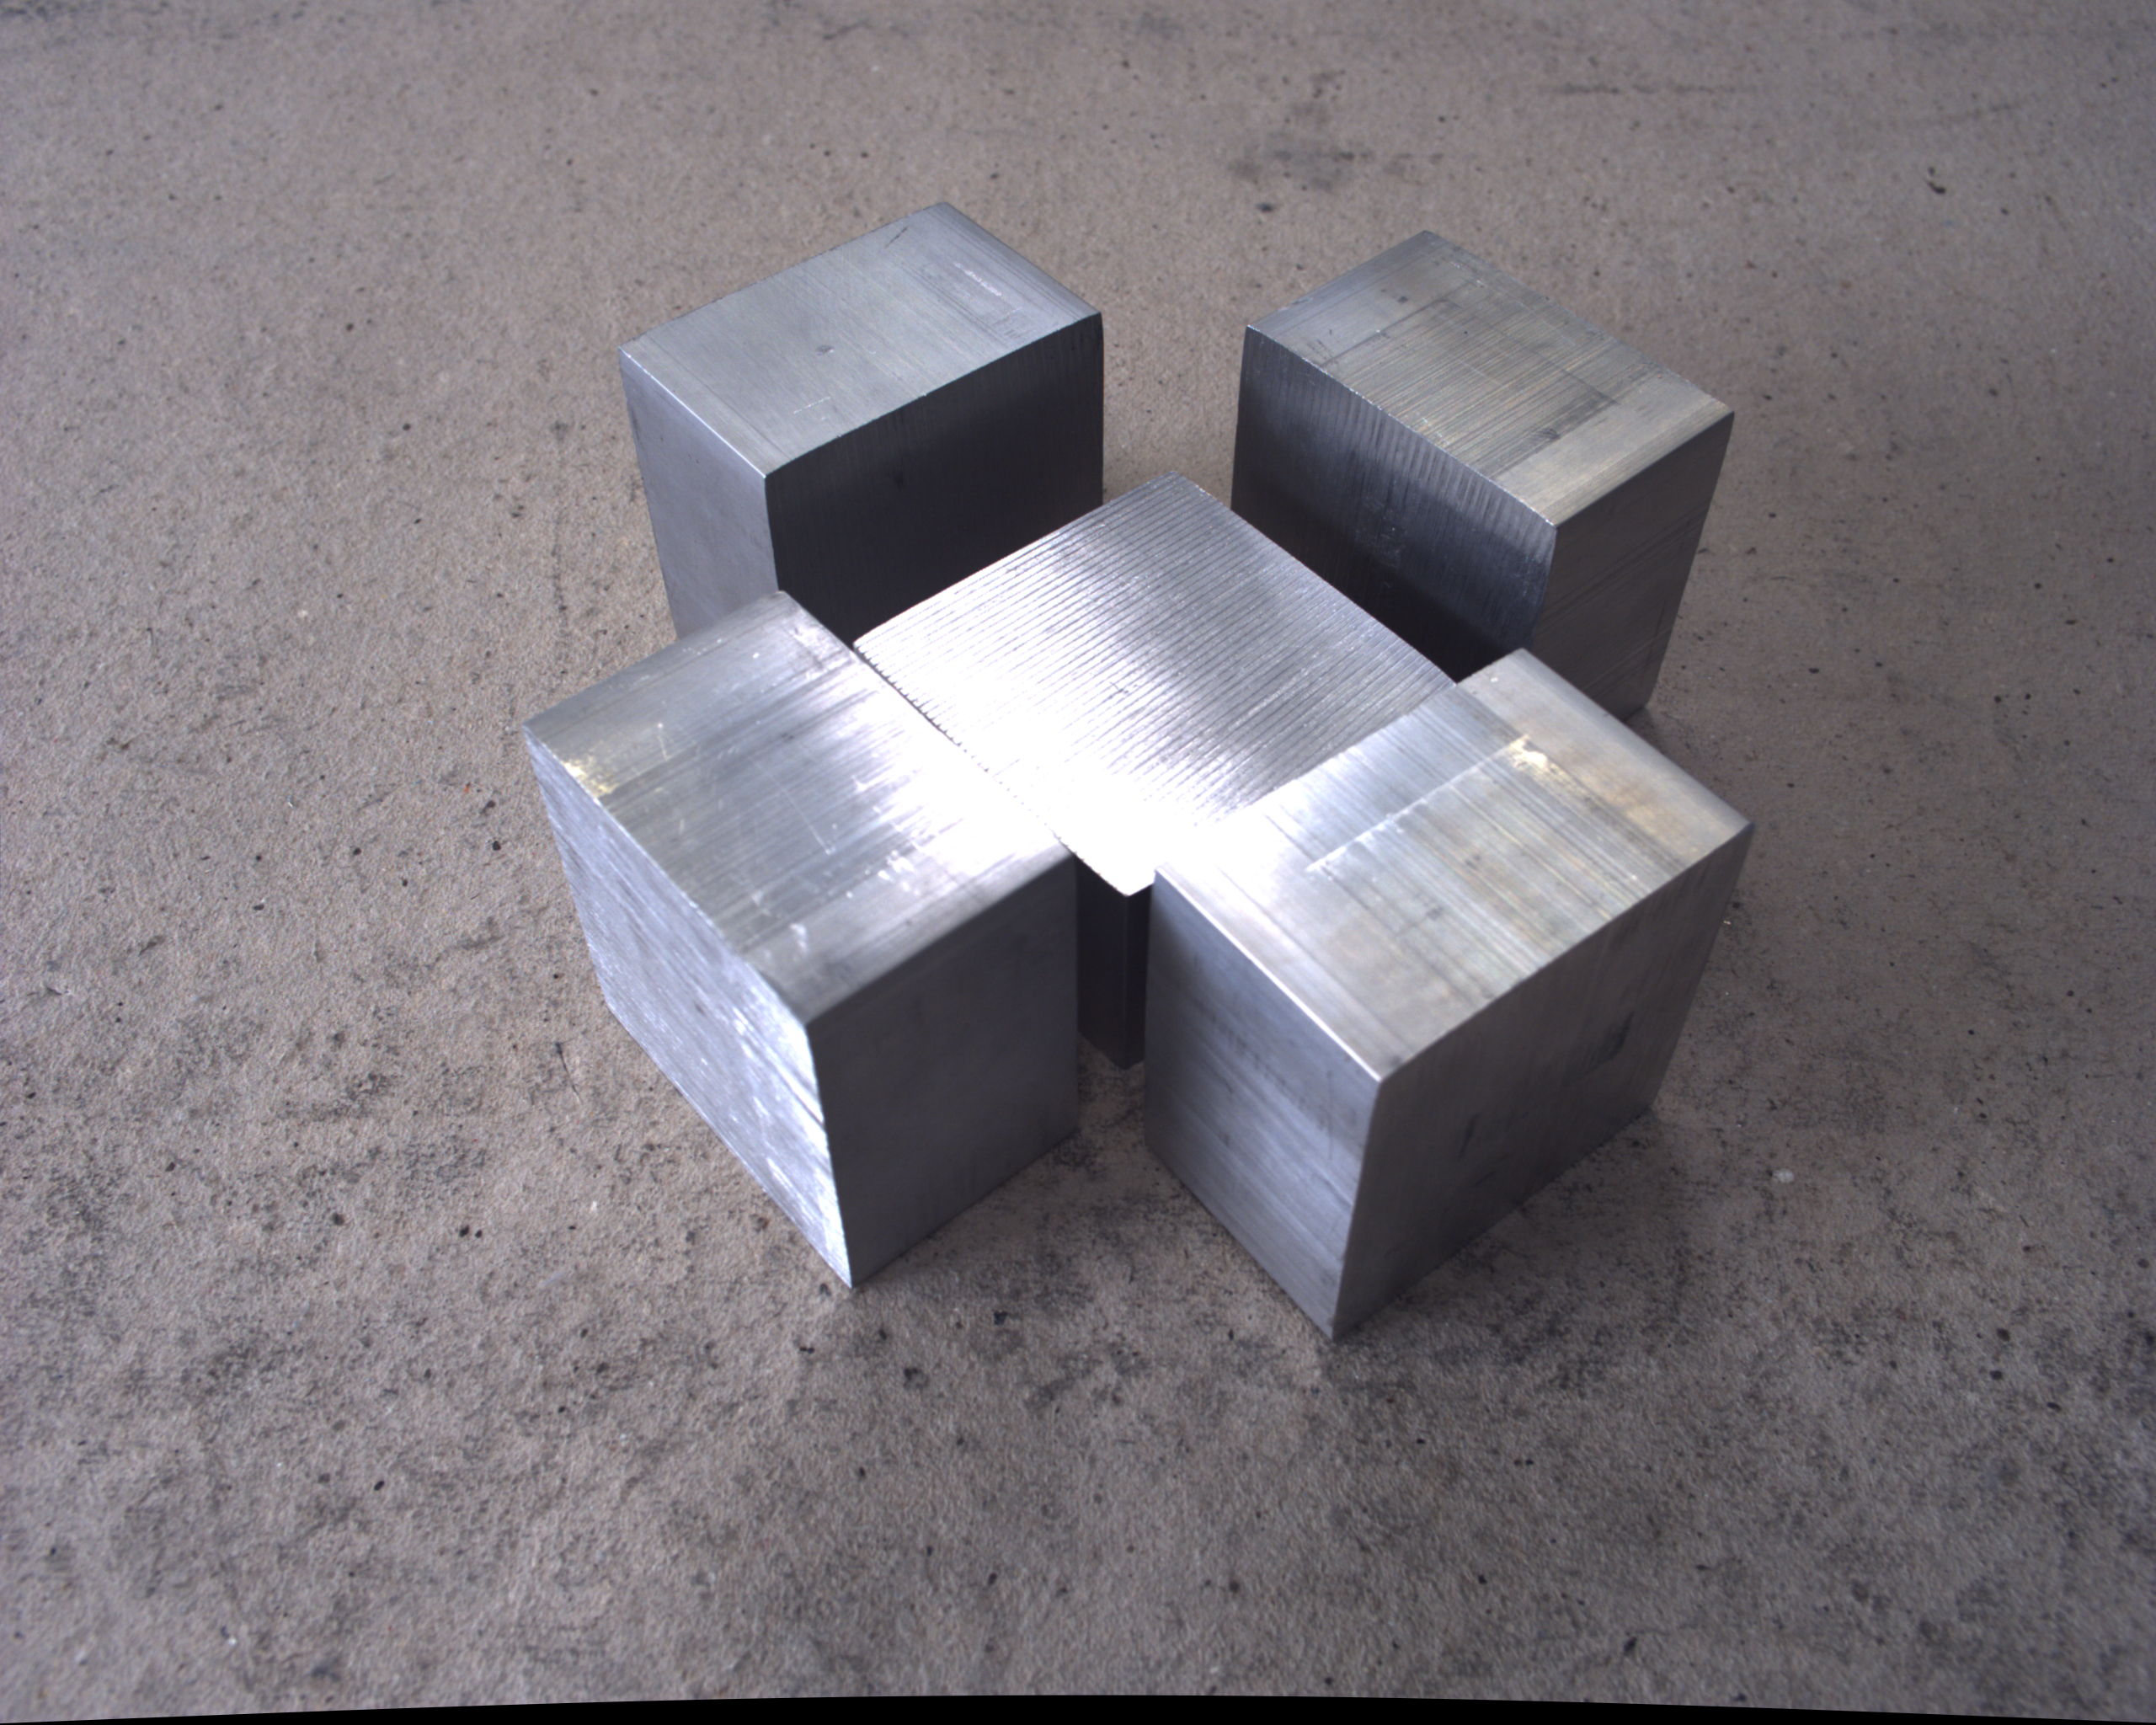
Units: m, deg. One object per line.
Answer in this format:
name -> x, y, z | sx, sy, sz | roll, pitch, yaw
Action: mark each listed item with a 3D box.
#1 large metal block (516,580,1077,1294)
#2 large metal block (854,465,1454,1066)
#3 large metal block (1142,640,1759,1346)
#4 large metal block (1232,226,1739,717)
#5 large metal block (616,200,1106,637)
large metal block -> -0.045, 0.013, 0.357 | 0.050, 0.080, 0.080 | -33, 57, -24
large metal block -> 0.013, -0.021, 0.403 | 0.081, 0.050, 0.080 | -32, 57, -24
large metal block -> 0.058, 0.022, 0.350 | 0.081, 0.080, 0.050 | -31, 56, -23
large metal block -> 0.078, -0.069, 0.427 | 0.050, 0.080, 0.080 | -33, 58, -25
large metal block -> -0.042, -0.078, 0.435 | 0.081, 0.080, 0.050 | -32, 57, -24
